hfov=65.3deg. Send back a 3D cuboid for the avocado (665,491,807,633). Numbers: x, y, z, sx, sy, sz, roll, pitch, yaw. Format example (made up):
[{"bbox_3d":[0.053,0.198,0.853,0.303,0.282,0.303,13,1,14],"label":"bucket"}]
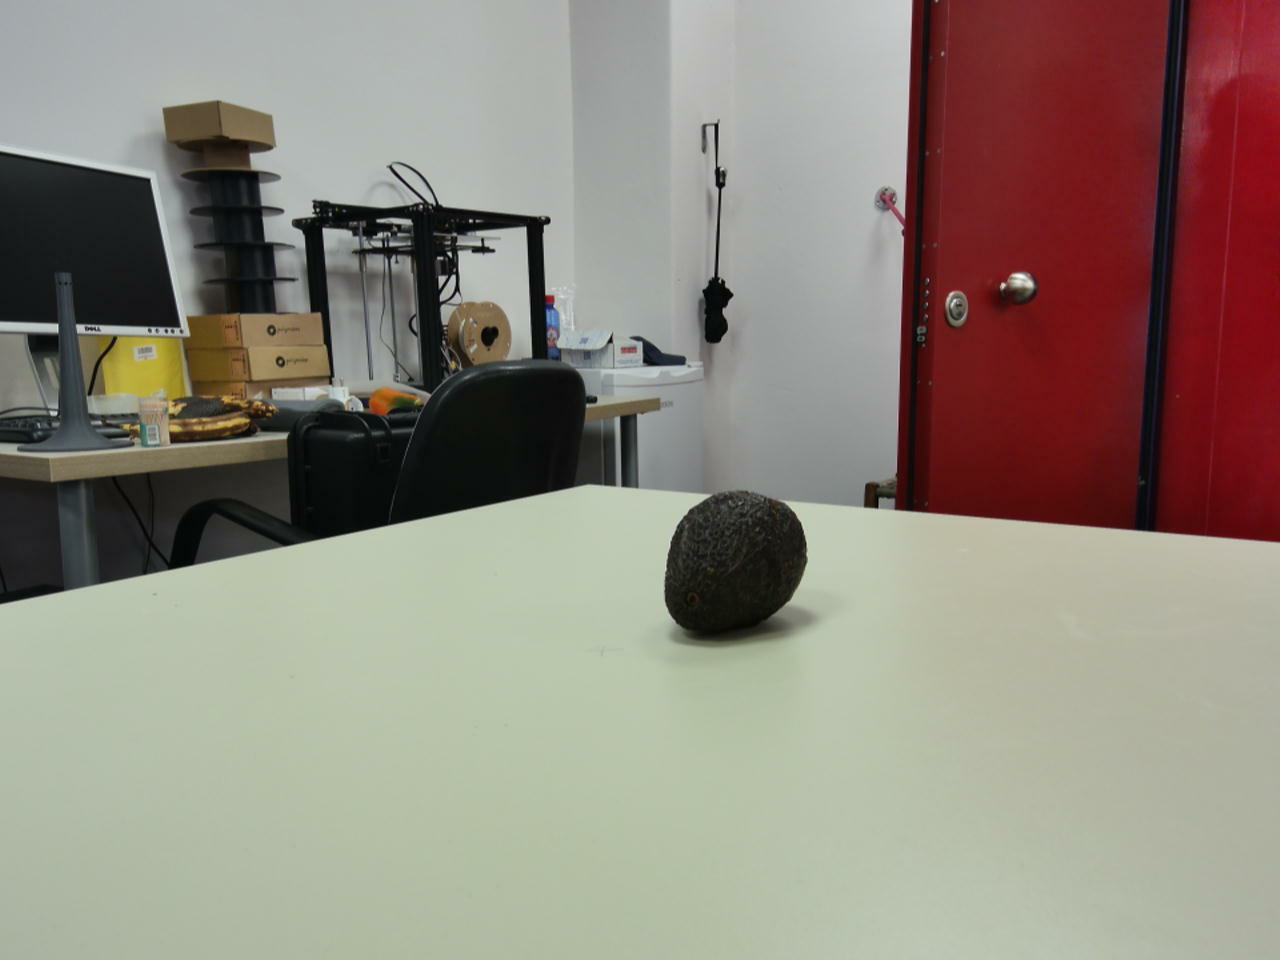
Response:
[{"bbox_3d":[0.047,0.041,0.526,0.090,0.069,0.070,-3,6,-29],"label":"avocado"}]
